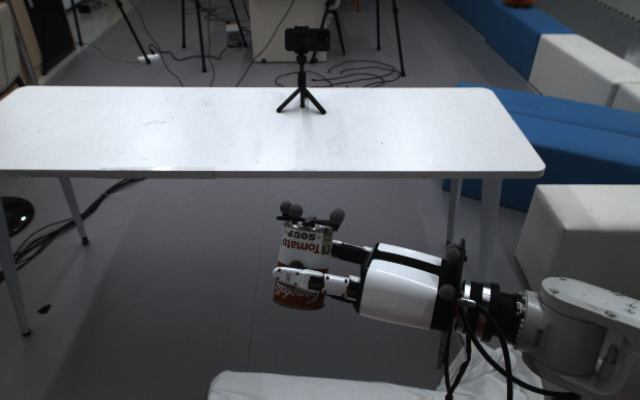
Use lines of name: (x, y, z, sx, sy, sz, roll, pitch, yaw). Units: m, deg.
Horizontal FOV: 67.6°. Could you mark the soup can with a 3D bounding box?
soup can: (-0.019, 0.081, 0.617, 0.067, 0.101, 0.067, 7, 4, 0)
